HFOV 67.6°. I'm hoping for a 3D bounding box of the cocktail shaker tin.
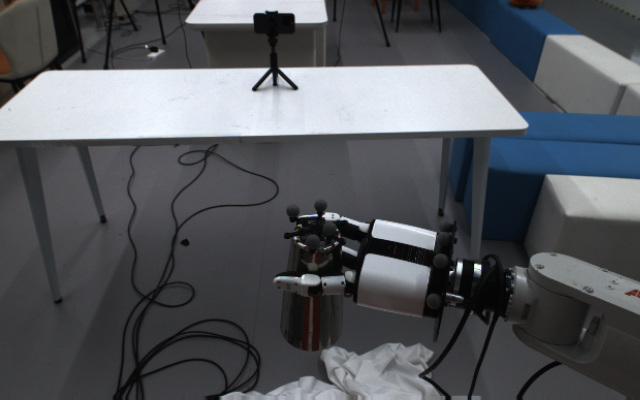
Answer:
[{"bbox_3d":[-0.006,0.114,0.671,0.093,0.170,0.093,3,32,-2],"label":"cocktail shaker tin"}]
